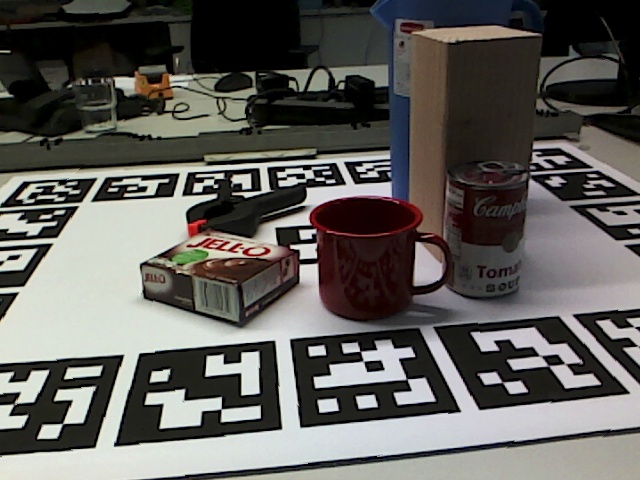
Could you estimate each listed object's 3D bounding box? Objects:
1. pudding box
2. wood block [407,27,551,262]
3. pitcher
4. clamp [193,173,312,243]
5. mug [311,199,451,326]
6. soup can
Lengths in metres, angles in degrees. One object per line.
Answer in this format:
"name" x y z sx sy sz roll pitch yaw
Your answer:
"pudding box" -0.095 0.034 0.557 0.114 0.038 0.090 12 32 29
"wood block" 0.145 -0.092 0.596 0.090 0.206 0.091 -3 25 -9
"pitcher" 0.154 -0.159 0.701 0.188 0.242 0.134 -8 23 -4
"clamp" -0.092 -0.031 0.706 0.122 0.036 0.165 15 30 18
"mug" 0.051 0.021 0.515 0.118 0.081 0.093 11 26 28
"soup can" 0.140 -0.006 0.535 0.068 0.102 0.068 -2 28 1
